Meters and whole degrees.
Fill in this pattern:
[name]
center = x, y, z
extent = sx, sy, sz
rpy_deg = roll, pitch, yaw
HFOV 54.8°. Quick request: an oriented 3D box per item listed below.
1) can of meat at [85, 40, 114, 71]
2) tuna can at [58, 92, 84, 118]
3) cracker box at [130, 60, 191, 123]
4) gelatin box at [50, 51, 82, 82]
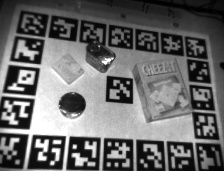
[can of meat]
center = -0.052, -0.107, 0.803
extent = 0.102, 0.083, 0.058
rpy_deg = 33, 66, 2
[tuna can]
center = -0.138, 0.066, 0.734
extent = 0.086, 0.033, 0.085
rpy_deg = 4, 72, -11
[cracker box]
center = 0.182, 0.016, 0.817
extent = 0.165, 0.072, 0.212
rpy_deg = -10, 71, -18
[gelatin box]
center = -0.167, -0.069, 0.782
extent = 0.089, 0.030, 0.074
rpy_deg = 46, 64, 3
